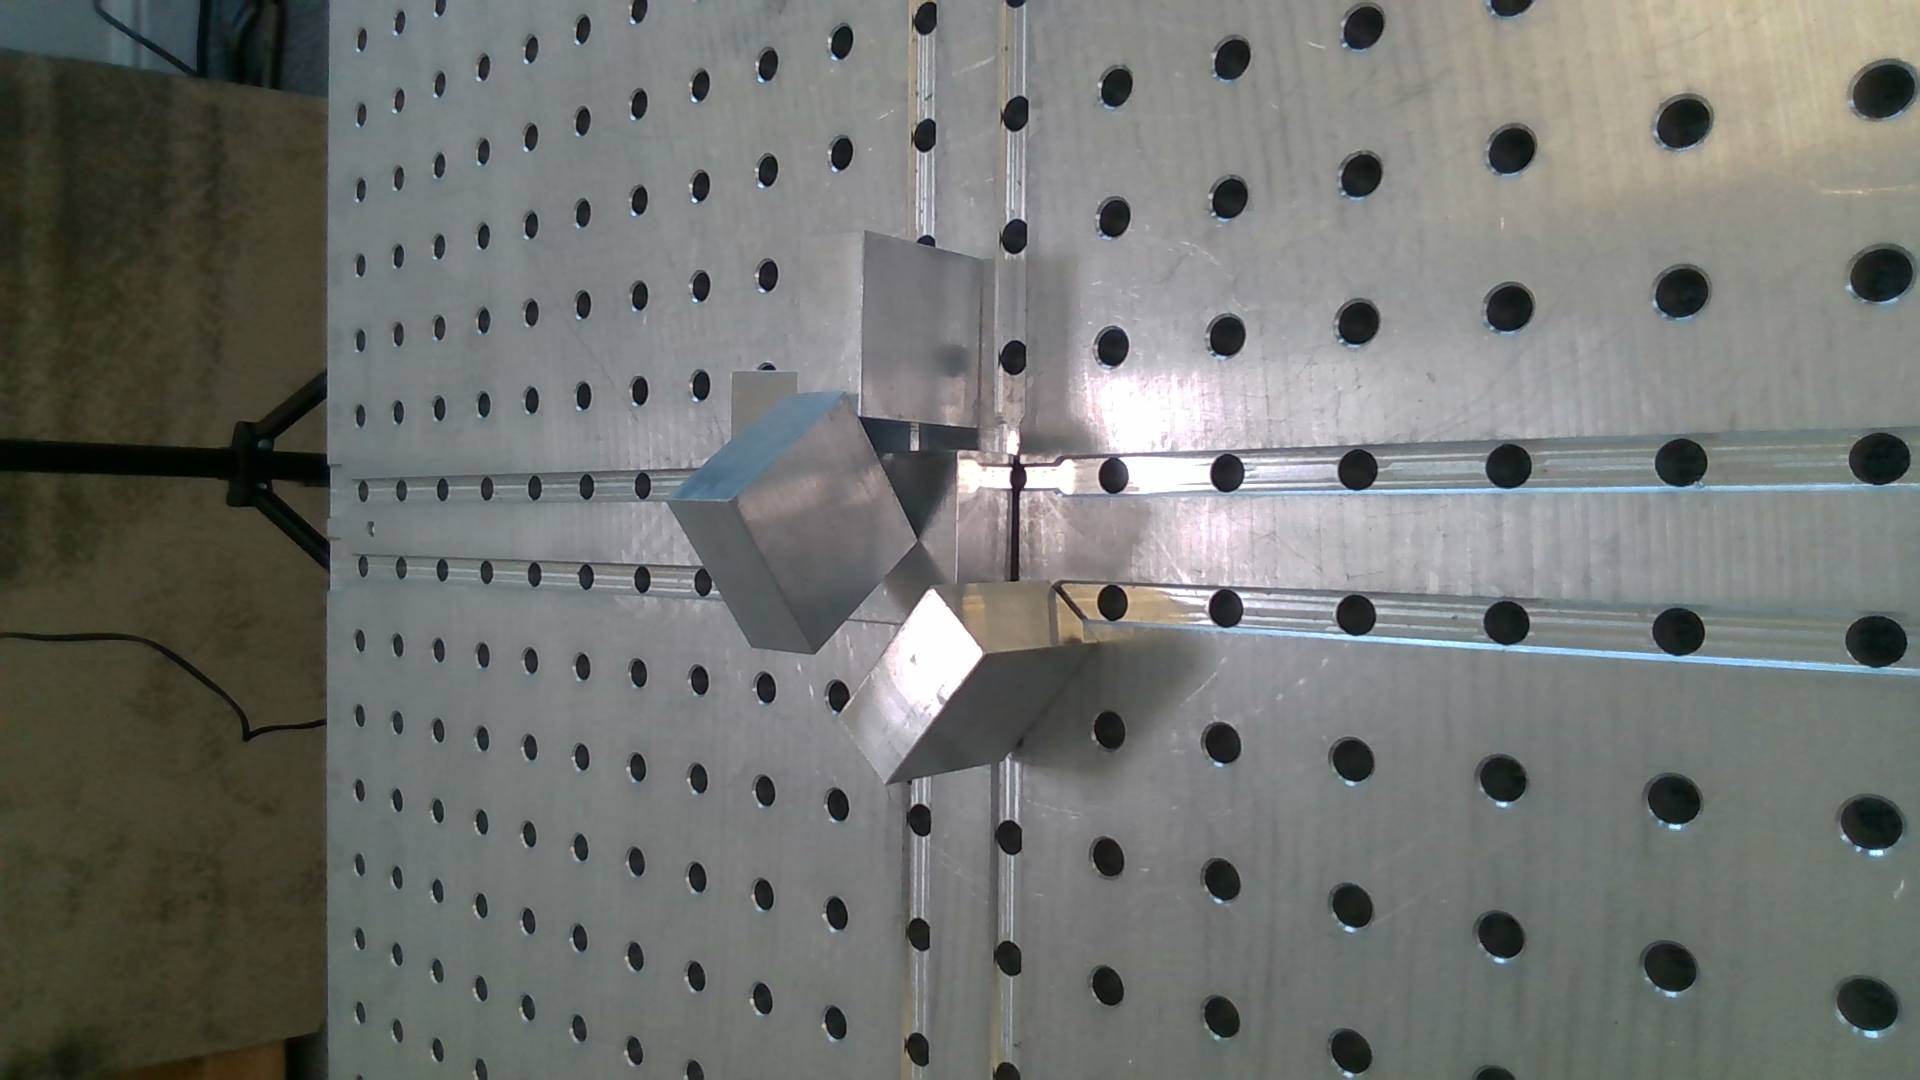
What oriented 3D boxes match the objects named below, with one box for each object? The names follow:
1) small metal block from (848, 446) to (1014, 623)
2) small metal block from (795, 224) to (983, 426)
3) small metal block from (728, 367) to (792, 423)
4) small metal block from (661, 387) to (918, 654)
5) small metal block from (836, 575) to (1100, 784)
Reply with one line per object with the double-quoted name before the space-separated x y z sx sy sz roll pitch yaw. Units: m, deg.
"small metal block" -0.012 -0.002 0.403 0.050 0.025 0.050 2 92 40
"small metal block" -0.020 -0.059 0.393 0.025 0.050 0.050 2 91 41
"small metal block" -0.050 -0.024 0.416 0.025 0.050 0.050 1 91 8
"small metal block" -0.044 -0.006 0.368 0.025 0.050 0.050 4 130 40
"small metal block" 0.002 0.037 0.375 0.025 0.050 0.050 50 120 27
